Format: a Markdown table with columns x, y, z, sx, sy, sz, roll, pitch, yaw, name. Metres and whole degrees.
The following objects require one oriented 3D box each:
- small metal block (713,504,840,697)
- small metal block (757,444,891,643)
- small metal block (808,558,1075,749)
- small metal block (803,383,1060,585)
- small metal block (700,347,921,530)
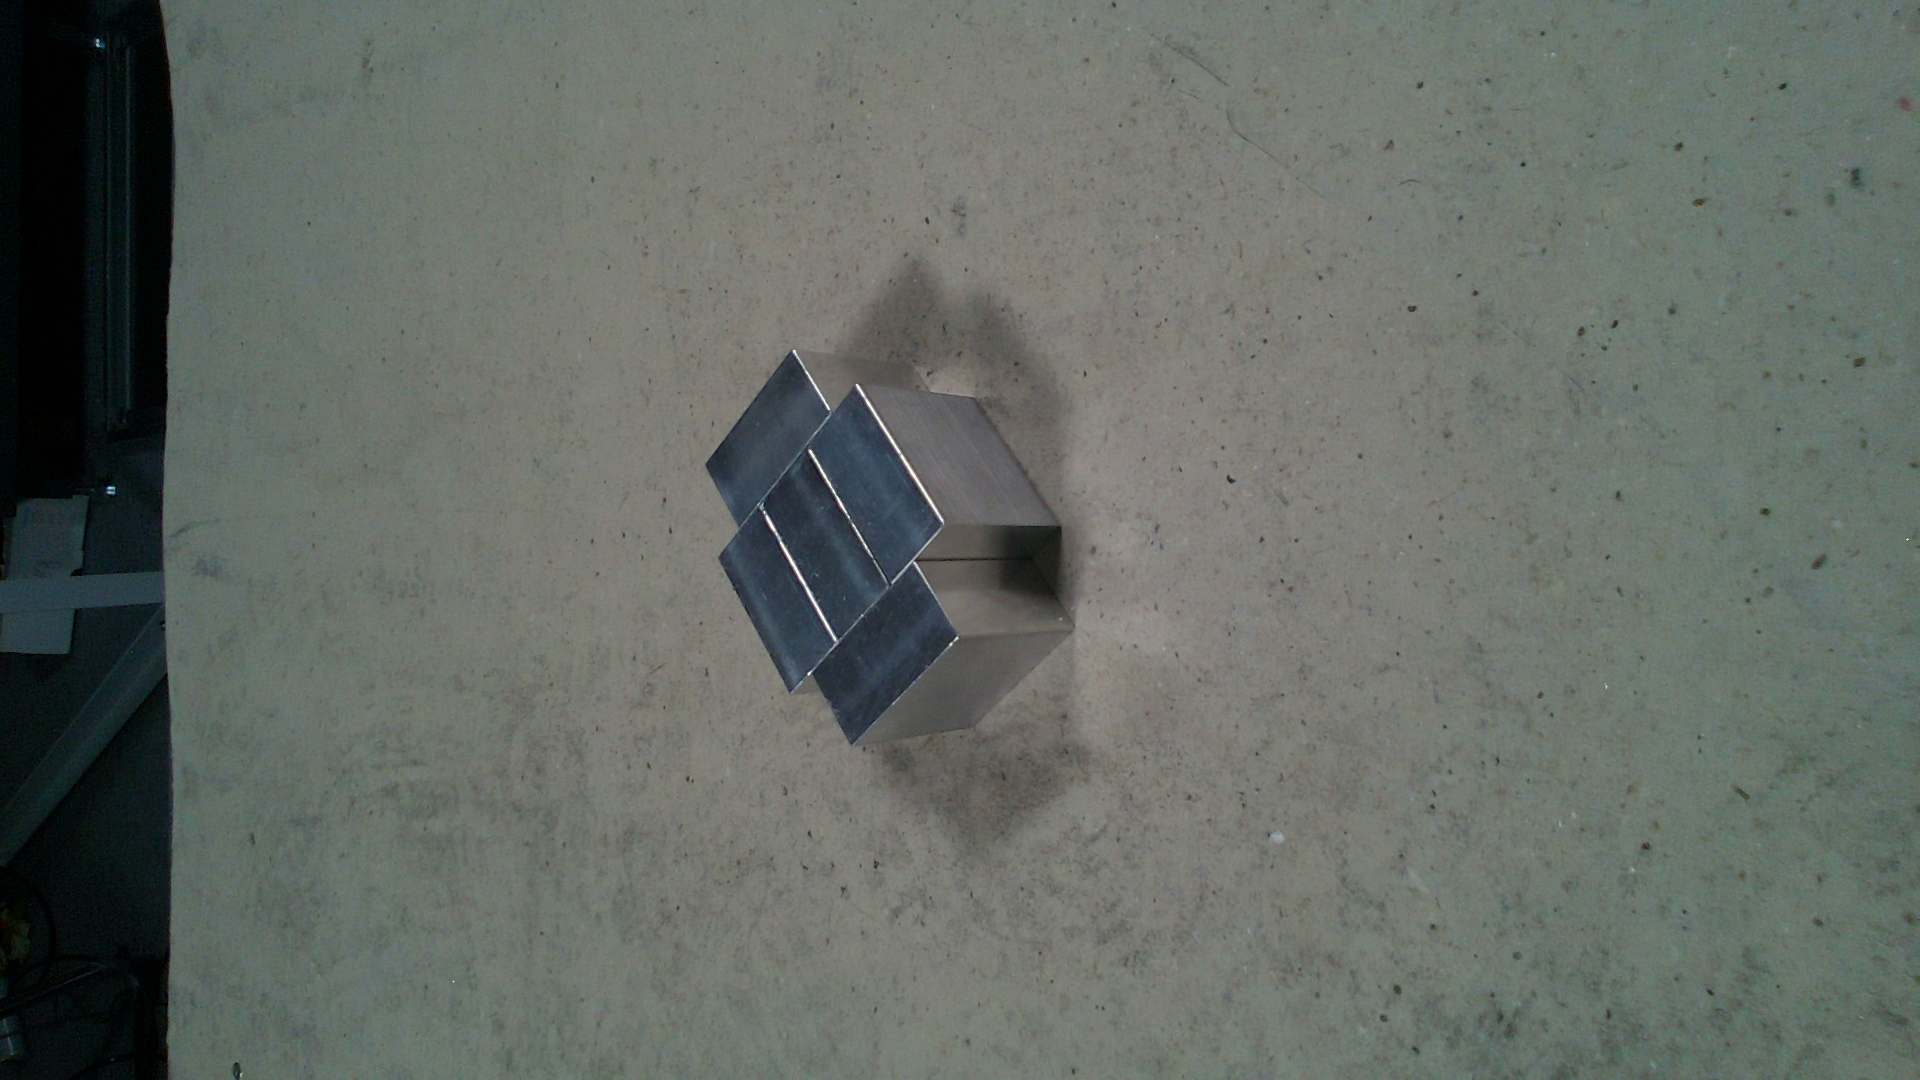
| x | y | z | sx | sy | sz | roll | pitch | yaw | name |
| --- | --- | --- | --- | --- | --- | --- | --- | --- | --- |
| -0.037 | 0.017 | 0.409 | 0.025 | 0.050 | 0.050 | -47 | 62 | 30 | small metal block |
| -0.022 | 0.001 | 0.397 | 0.025 | 0.050 | 0.050 | -47 | 62 | 30 | small metal block |
| -0.005 | 0.031 | 0.382 | 0.050 | 0.050 | 0.025 | -47 | 62 | 30 | small metal block |
| -0.008 | -0.015 | 0.384 | 0.025 | 0.050 | 0.050 | -48 | 61 | 29 | small metal block |
| -0.040 | -0.029 | 0.412 | 0.050 | 0.050 | 0.025 | -47 | 62 | 30 | small metal block |
